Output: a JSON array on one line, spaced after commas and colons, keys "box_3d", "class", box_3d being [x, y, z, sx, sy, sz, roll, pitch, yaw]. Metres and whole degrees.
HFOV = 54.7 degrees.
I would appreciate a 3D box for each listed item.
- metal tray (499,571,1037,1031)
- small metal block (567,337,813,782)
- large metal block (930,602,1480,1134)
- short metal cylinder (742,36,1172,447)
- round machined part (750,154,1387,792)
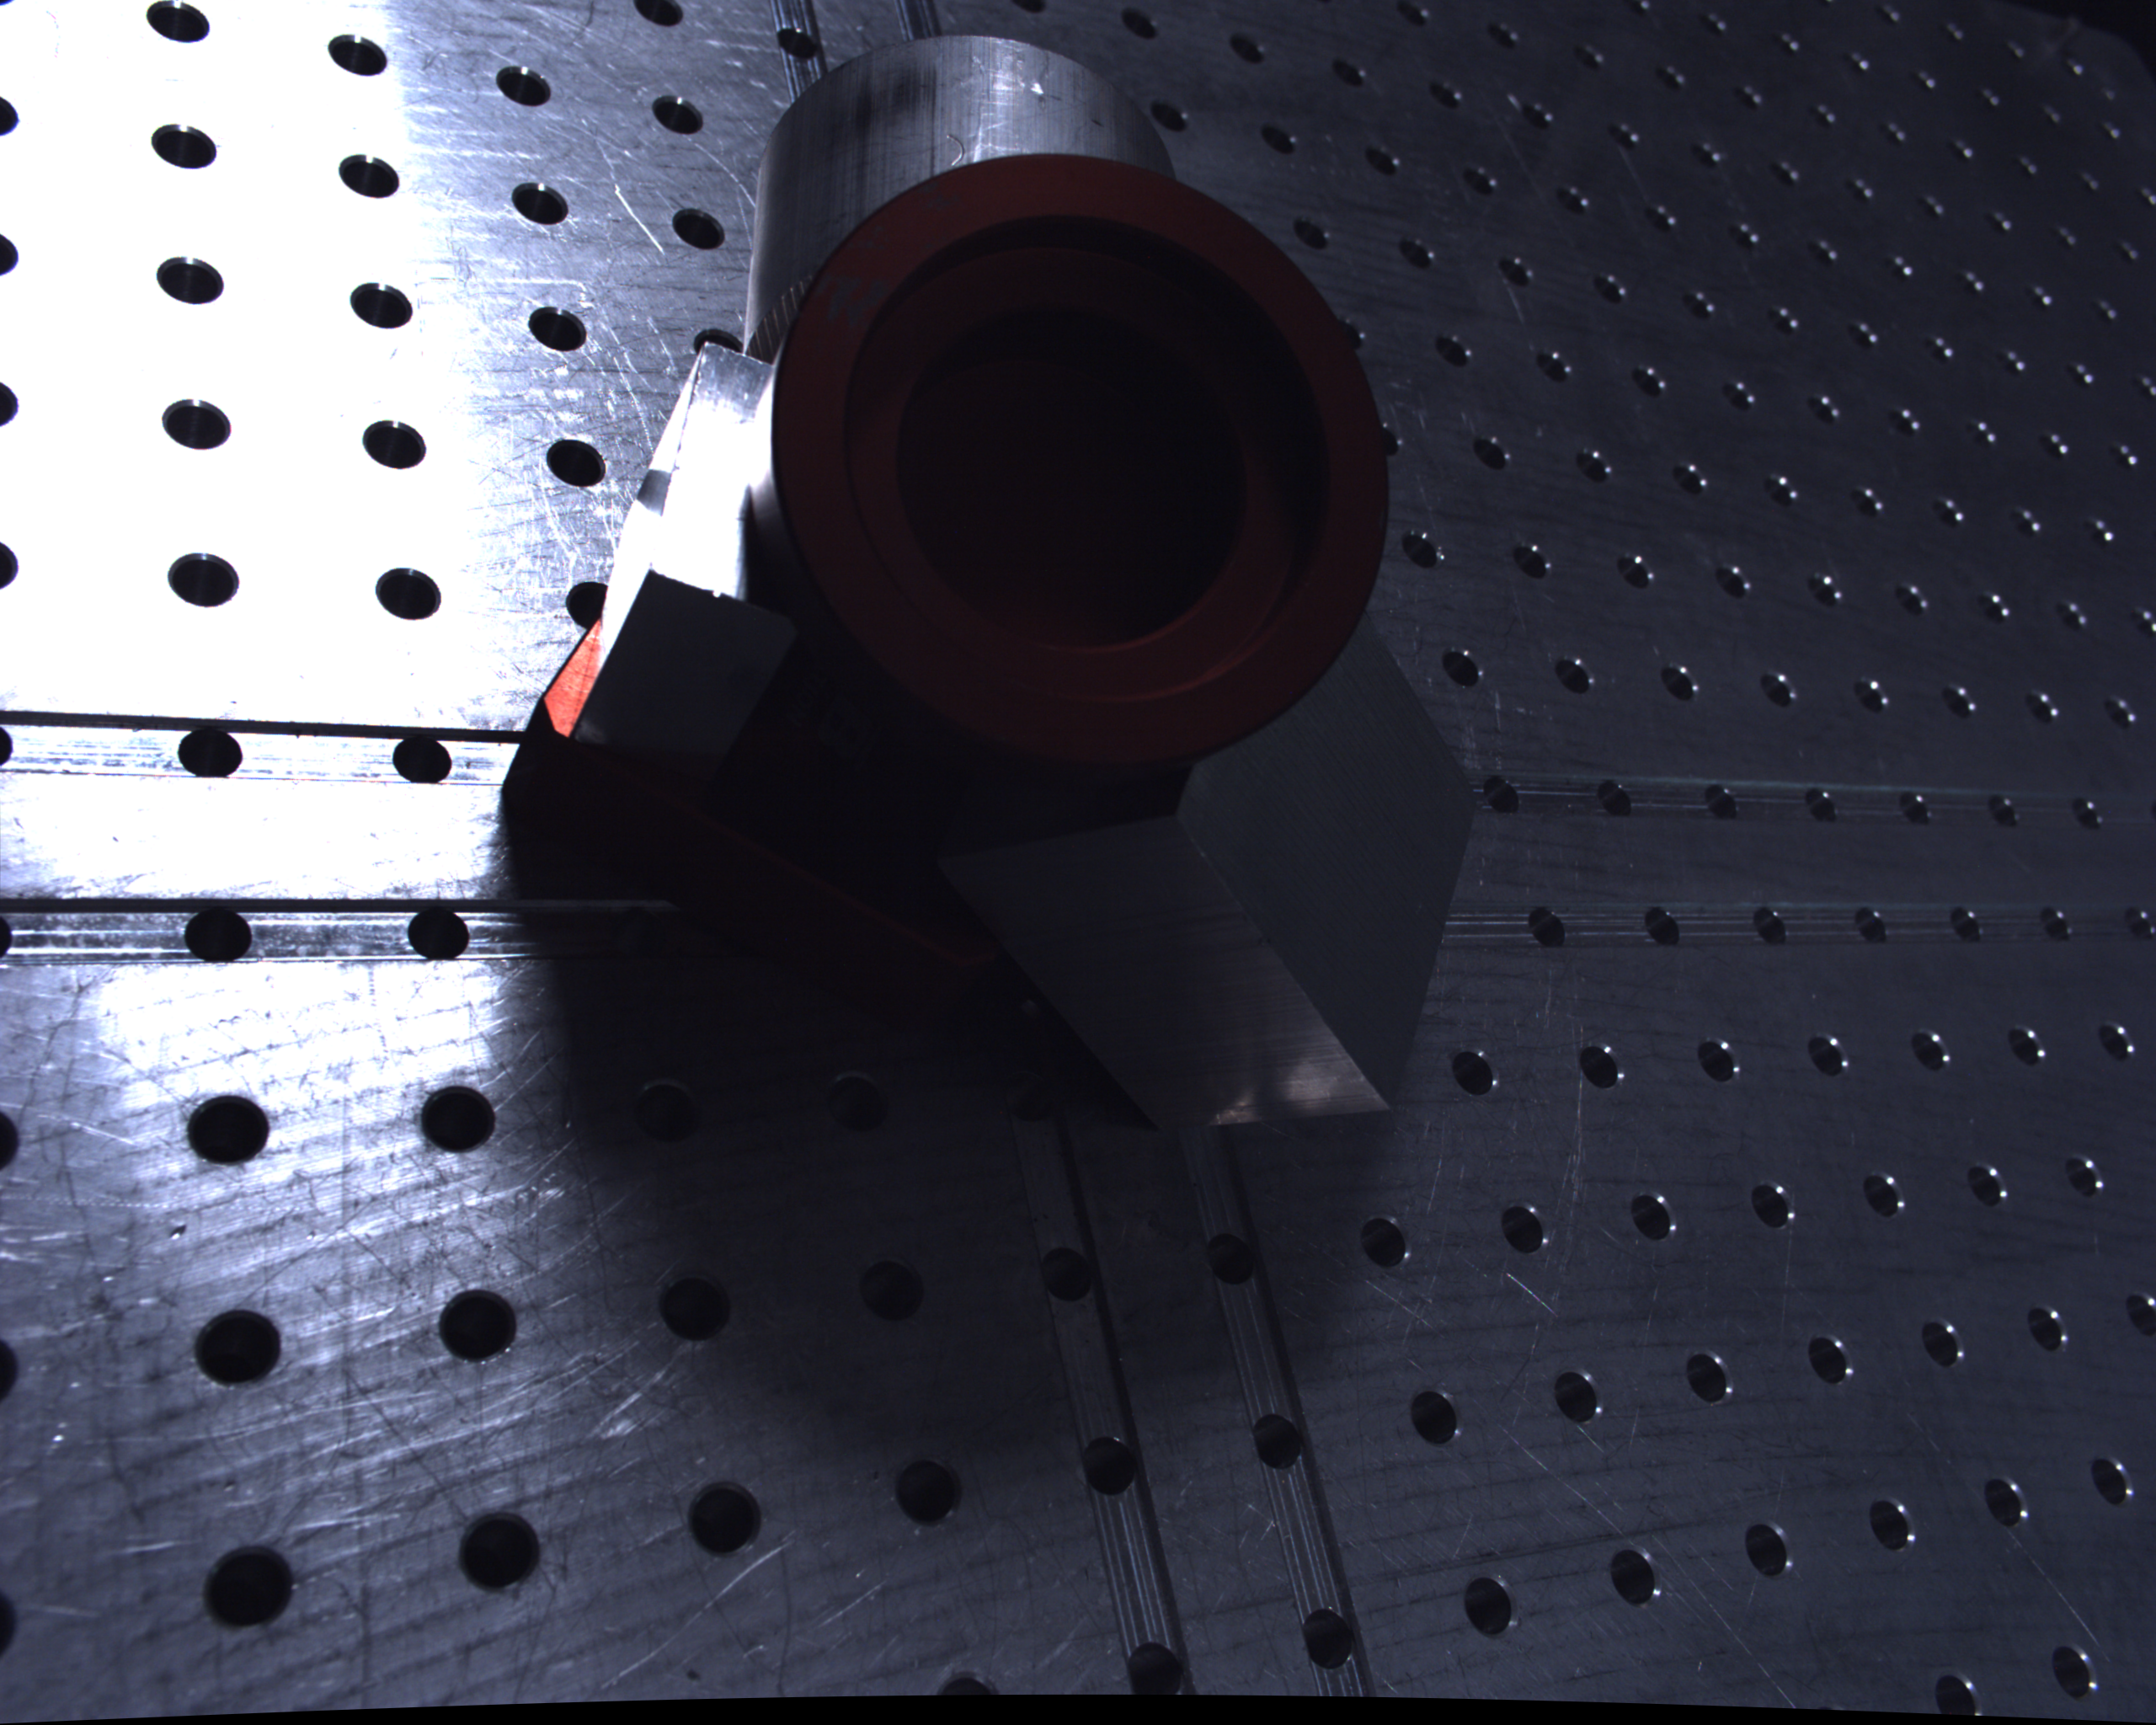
[{"box_3d": [-0.041, -0.042, 0.410, 0.090, 0.030, 0.130, 30, 52, -9], "class": "metal tray"}, {"box_3d": [-0.062, -0.050, 0.350, 0.025, 0.050, 0.050, 18, 55, -19], "class": "small metal block"}, {"box_3d": [0.028, -0.007, 0.390, 0.080, 0.050, 0.080, 52, 44, -32], "class": "large metal block"}, {"box_3d": [-0.021, -0.103, 0.387, 0.081, 0.080, 0.050, 13, 57, -22], "class": "short metal cylinder"}, {"box_3d": [-0.004, -0.059, 0.337, 0.099, 0.042, 0.097, 3, 81, -17], "class": "round machined part"}]
